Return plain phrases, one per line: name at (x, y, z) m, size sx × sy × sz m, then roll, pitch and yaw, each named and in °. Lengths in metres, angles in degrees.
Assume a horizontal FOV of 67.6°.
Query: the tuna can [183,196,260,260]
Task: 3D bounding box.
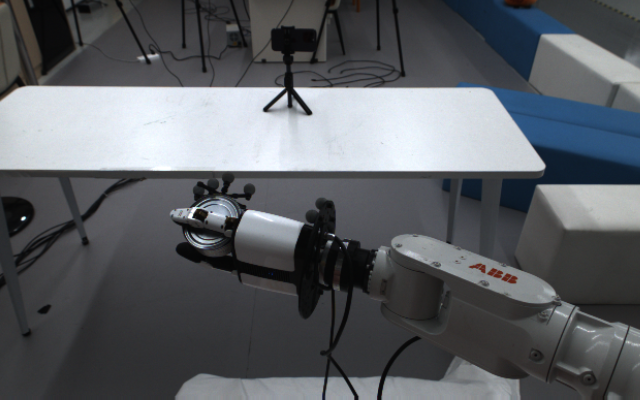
tuna can at (-0.147, 0.038, 0.681) m, size 0.085 × 0.034 × 0.085 m, roll -6°, pitch 60°, yaw 10°
